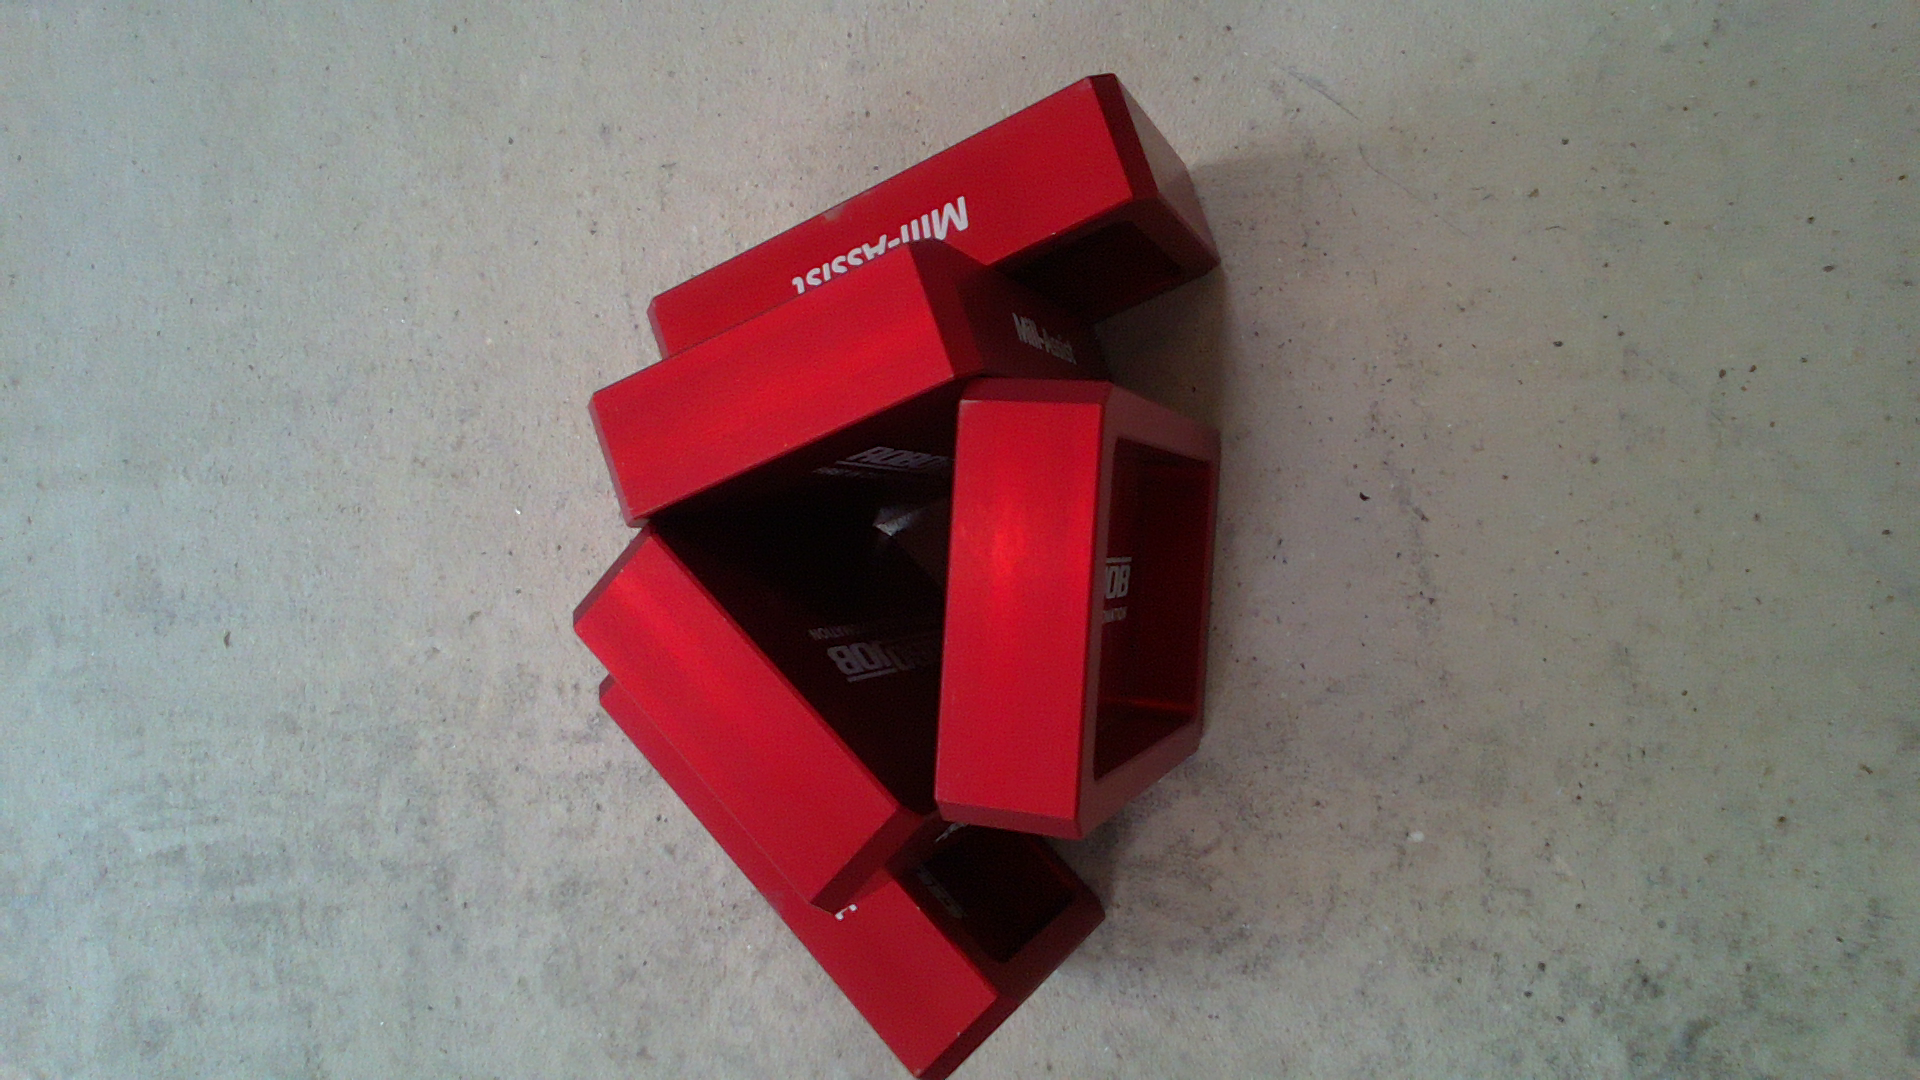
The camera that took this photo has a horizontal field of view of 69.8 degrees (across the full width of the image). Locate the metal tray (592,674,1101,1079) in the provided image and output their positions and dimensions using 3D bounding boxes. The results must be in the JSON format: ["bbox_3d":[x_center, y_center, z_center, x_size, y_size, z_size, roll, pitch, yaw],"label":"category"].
[{"bbox_3d":[-0.027,0.073,0.370,0.130,0.090,0.030,46,105,14],"label":"metal tray"}]

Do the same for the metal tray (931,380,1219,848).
[{"bbox_3d":[0.033,0.014,0.328,0.030,0.130,0.090,5,92,20],"label":"metal tray"}]

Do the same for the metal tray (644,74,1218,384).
[{"bbox_3d":[-0.005,-0.068,0.362,0.130,0.090,0.030,-21,83,18],"label":"metal tray"}]

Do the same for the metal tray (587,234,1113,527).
[{"bbox_3d":[-0.019,-0.033,0.346,0.090,0.130,0.030,-22,83,19],"label":"metal tray"}]

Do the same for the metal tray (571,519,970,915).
[{"bbox_3d":[-0.027,0.037,0.350,0.090,0.130,0.030,45,104,14],"label":"metal tray"}]
